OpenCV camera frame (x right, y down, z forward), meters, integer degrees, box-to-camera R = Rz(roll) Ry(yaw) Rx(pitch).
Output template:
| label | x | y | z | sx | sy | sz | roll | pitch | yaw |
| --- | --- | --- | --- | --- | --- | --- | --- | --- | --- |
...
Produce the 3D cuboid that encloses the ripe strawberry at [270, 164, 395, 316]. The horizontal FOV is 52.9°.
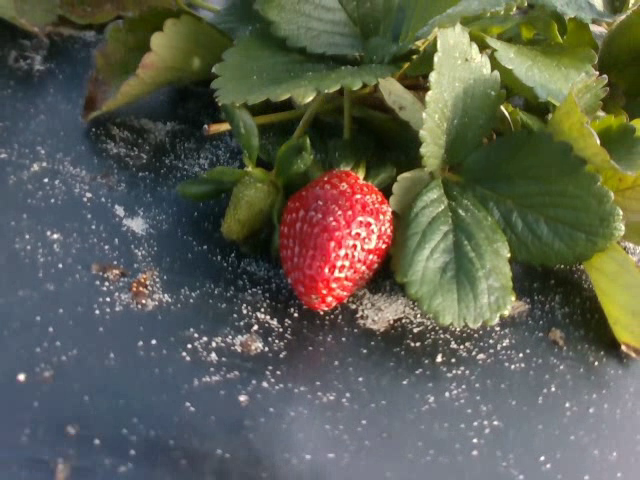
| label | x | y | z | sx | sy | sz | roll | pitch | yaw |
| --- | --- | --- | --- | --- | --- | --- | --- | --- | --- |
| ripe strawberry | 0.001 | 0.001 | 0.124 | 0.030 | 0.036 | 0.021 | 9 | -44 | 6 |
